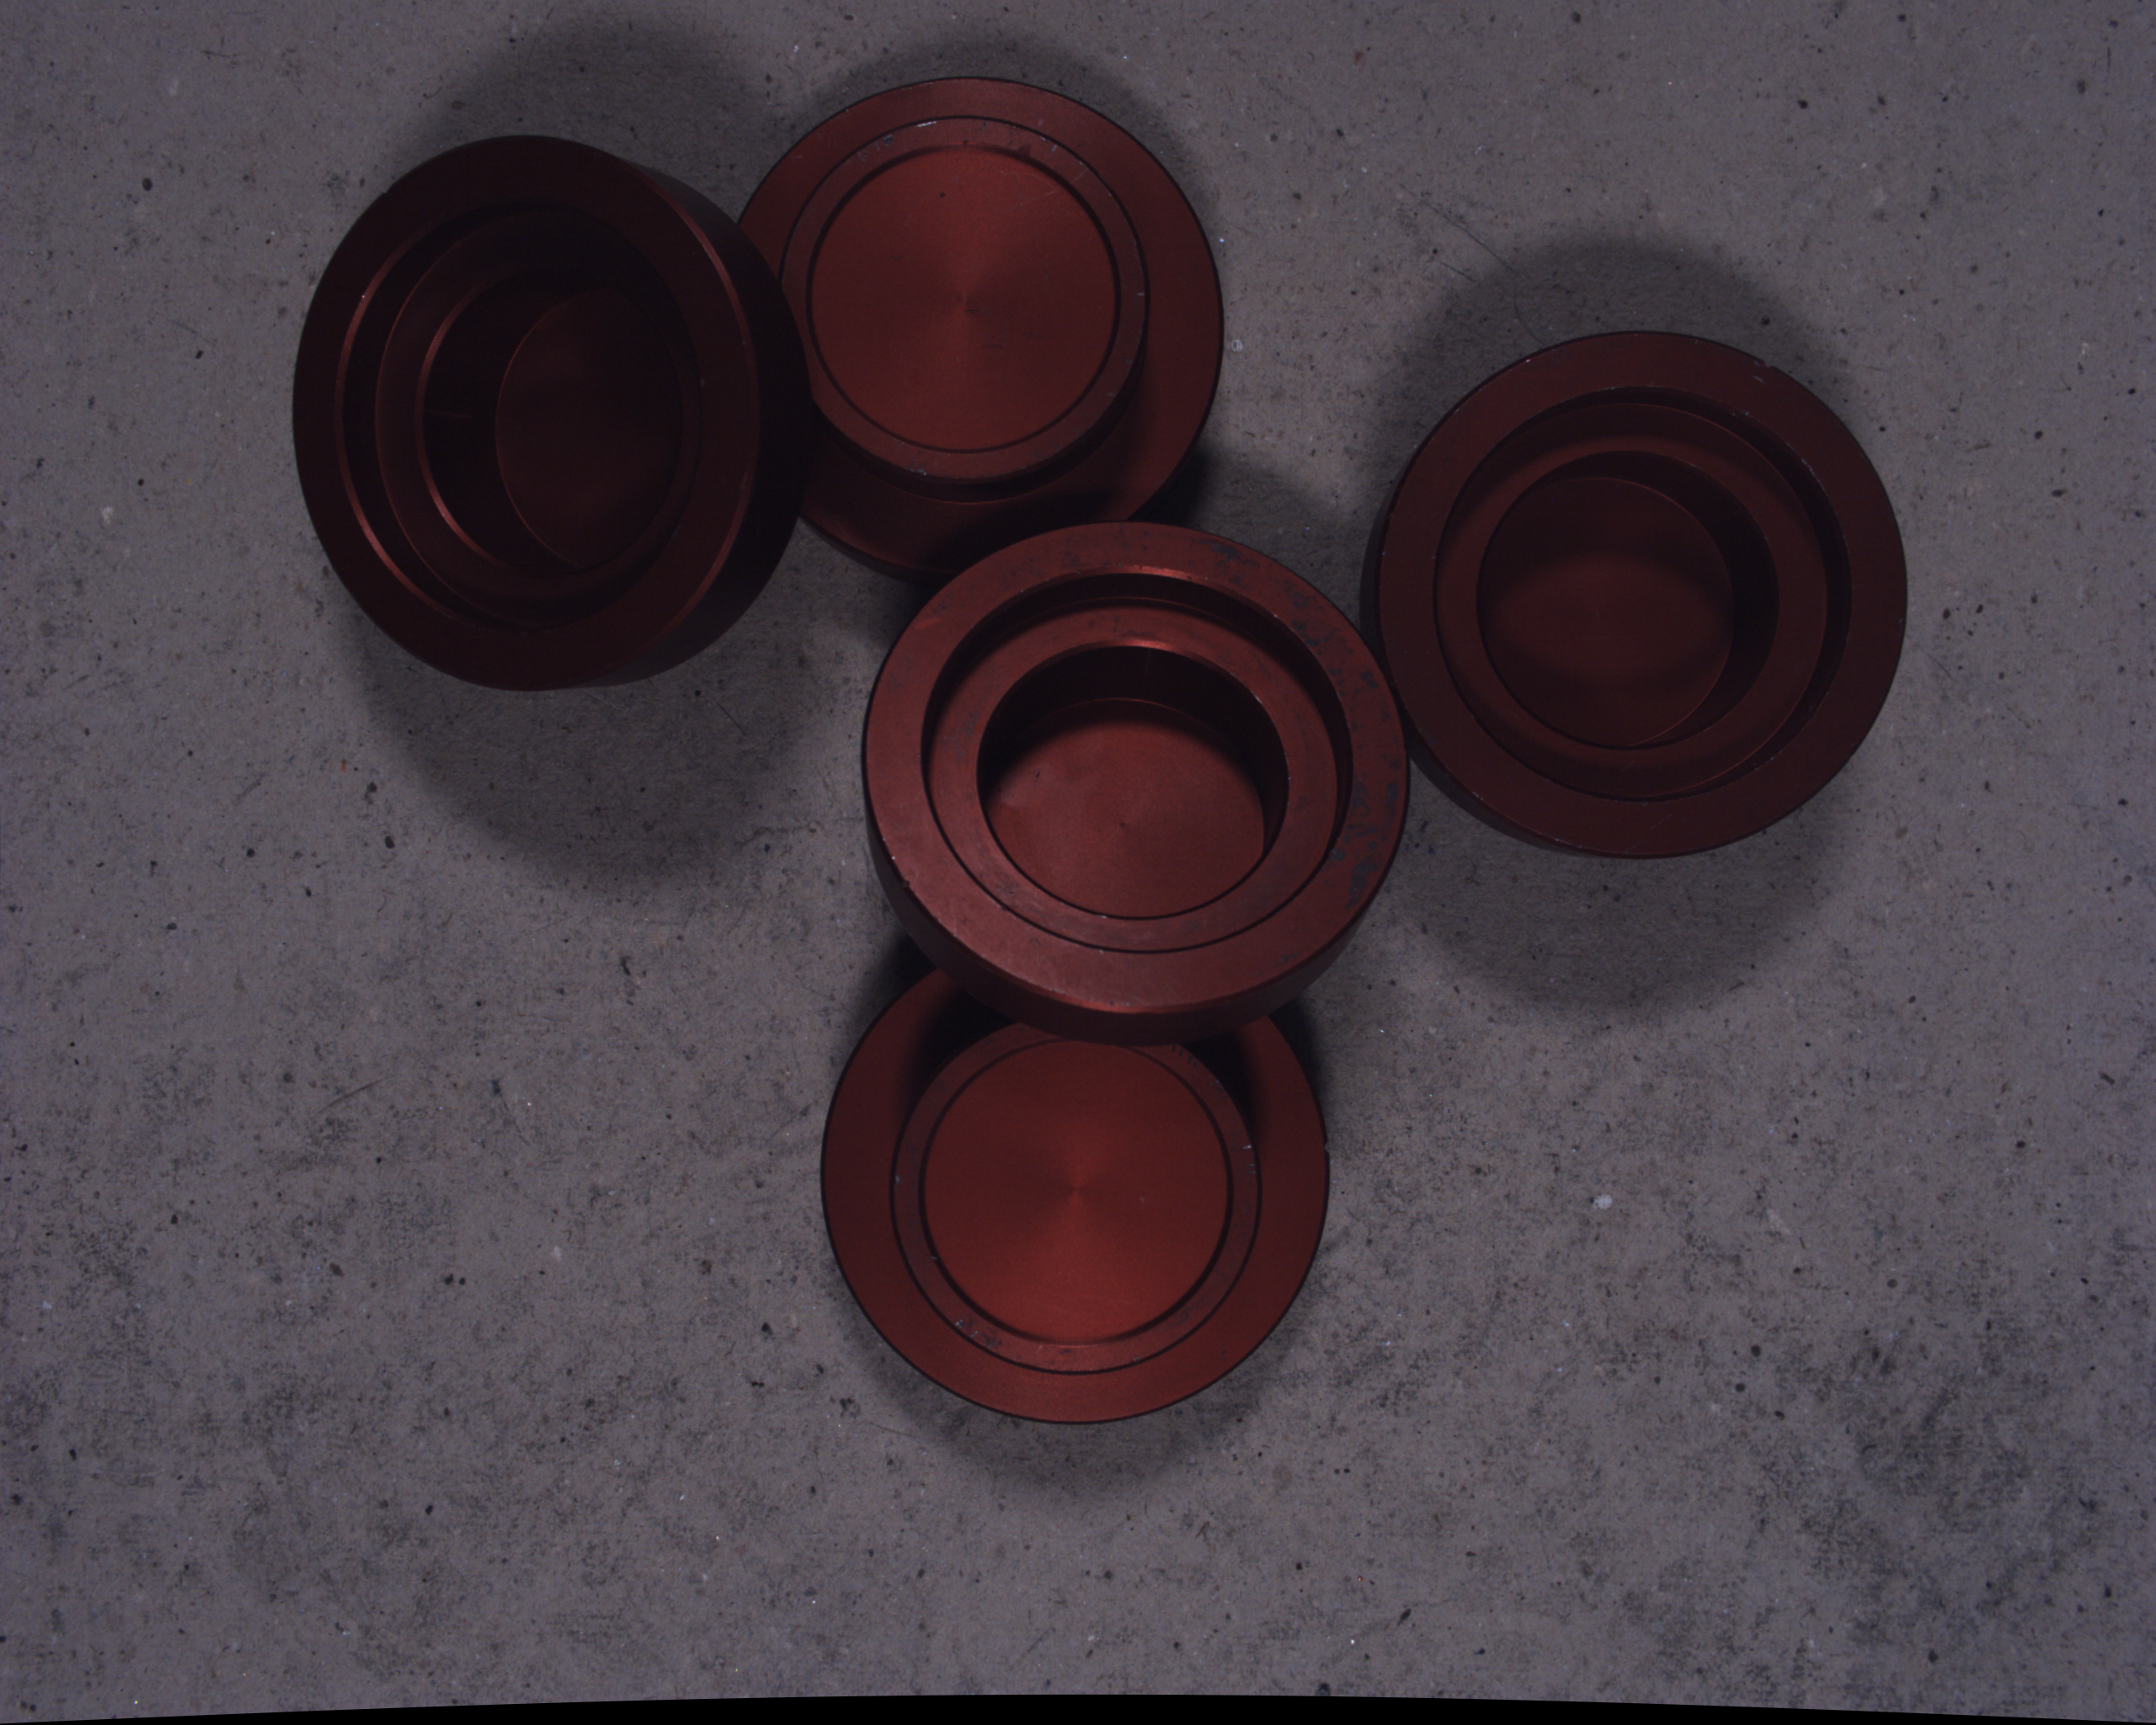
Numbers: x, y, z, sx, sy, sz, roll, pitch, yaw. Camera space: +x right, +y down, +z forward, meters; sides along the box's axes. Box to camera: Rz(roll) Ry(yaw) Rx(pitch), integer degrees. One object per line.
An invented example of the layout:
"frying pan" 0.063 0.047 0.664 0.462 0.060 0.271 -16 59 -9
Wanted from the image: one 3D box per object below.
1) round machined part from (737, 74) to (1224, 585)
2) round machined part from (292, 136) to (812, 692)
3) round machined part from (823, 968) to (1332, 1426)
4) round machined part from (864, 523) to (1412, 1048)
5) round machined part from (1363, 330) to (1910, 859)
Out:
"round machined part" -0.021 -0.104 0.402 0.099 0.042 0.097 0 90 -1
"round machined part" -0.093 -0.082 0.391 0.098 0.042 0.097 3 98 20
"round machined part" 0.000 0.060 0.402 0.099 0.042 0.097 0 90 -1
"round machined part" 0.010 -0.011 0.392 0.099 0.042 0.098 1 67 -3
"round machined part" 0.104 -0.050 0.404 0.099 0.042 0.097 0 90 -1
